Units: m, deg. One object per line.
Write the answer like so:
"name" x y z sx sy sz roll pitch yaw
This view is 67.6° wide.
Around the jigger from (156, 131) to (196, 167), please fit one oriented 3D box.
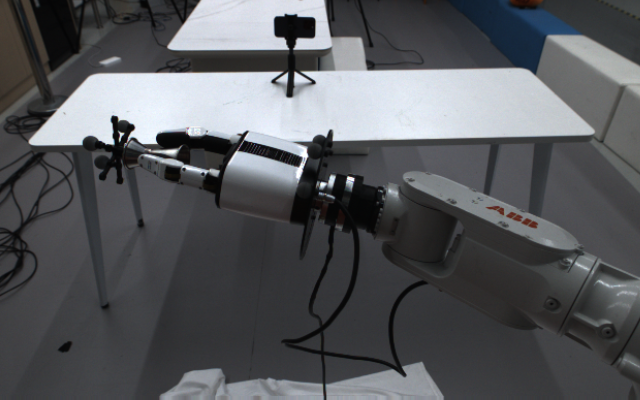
"jigger" -0.191 -0.059 0.596 0.071 0.043 0.043 9 35 5
